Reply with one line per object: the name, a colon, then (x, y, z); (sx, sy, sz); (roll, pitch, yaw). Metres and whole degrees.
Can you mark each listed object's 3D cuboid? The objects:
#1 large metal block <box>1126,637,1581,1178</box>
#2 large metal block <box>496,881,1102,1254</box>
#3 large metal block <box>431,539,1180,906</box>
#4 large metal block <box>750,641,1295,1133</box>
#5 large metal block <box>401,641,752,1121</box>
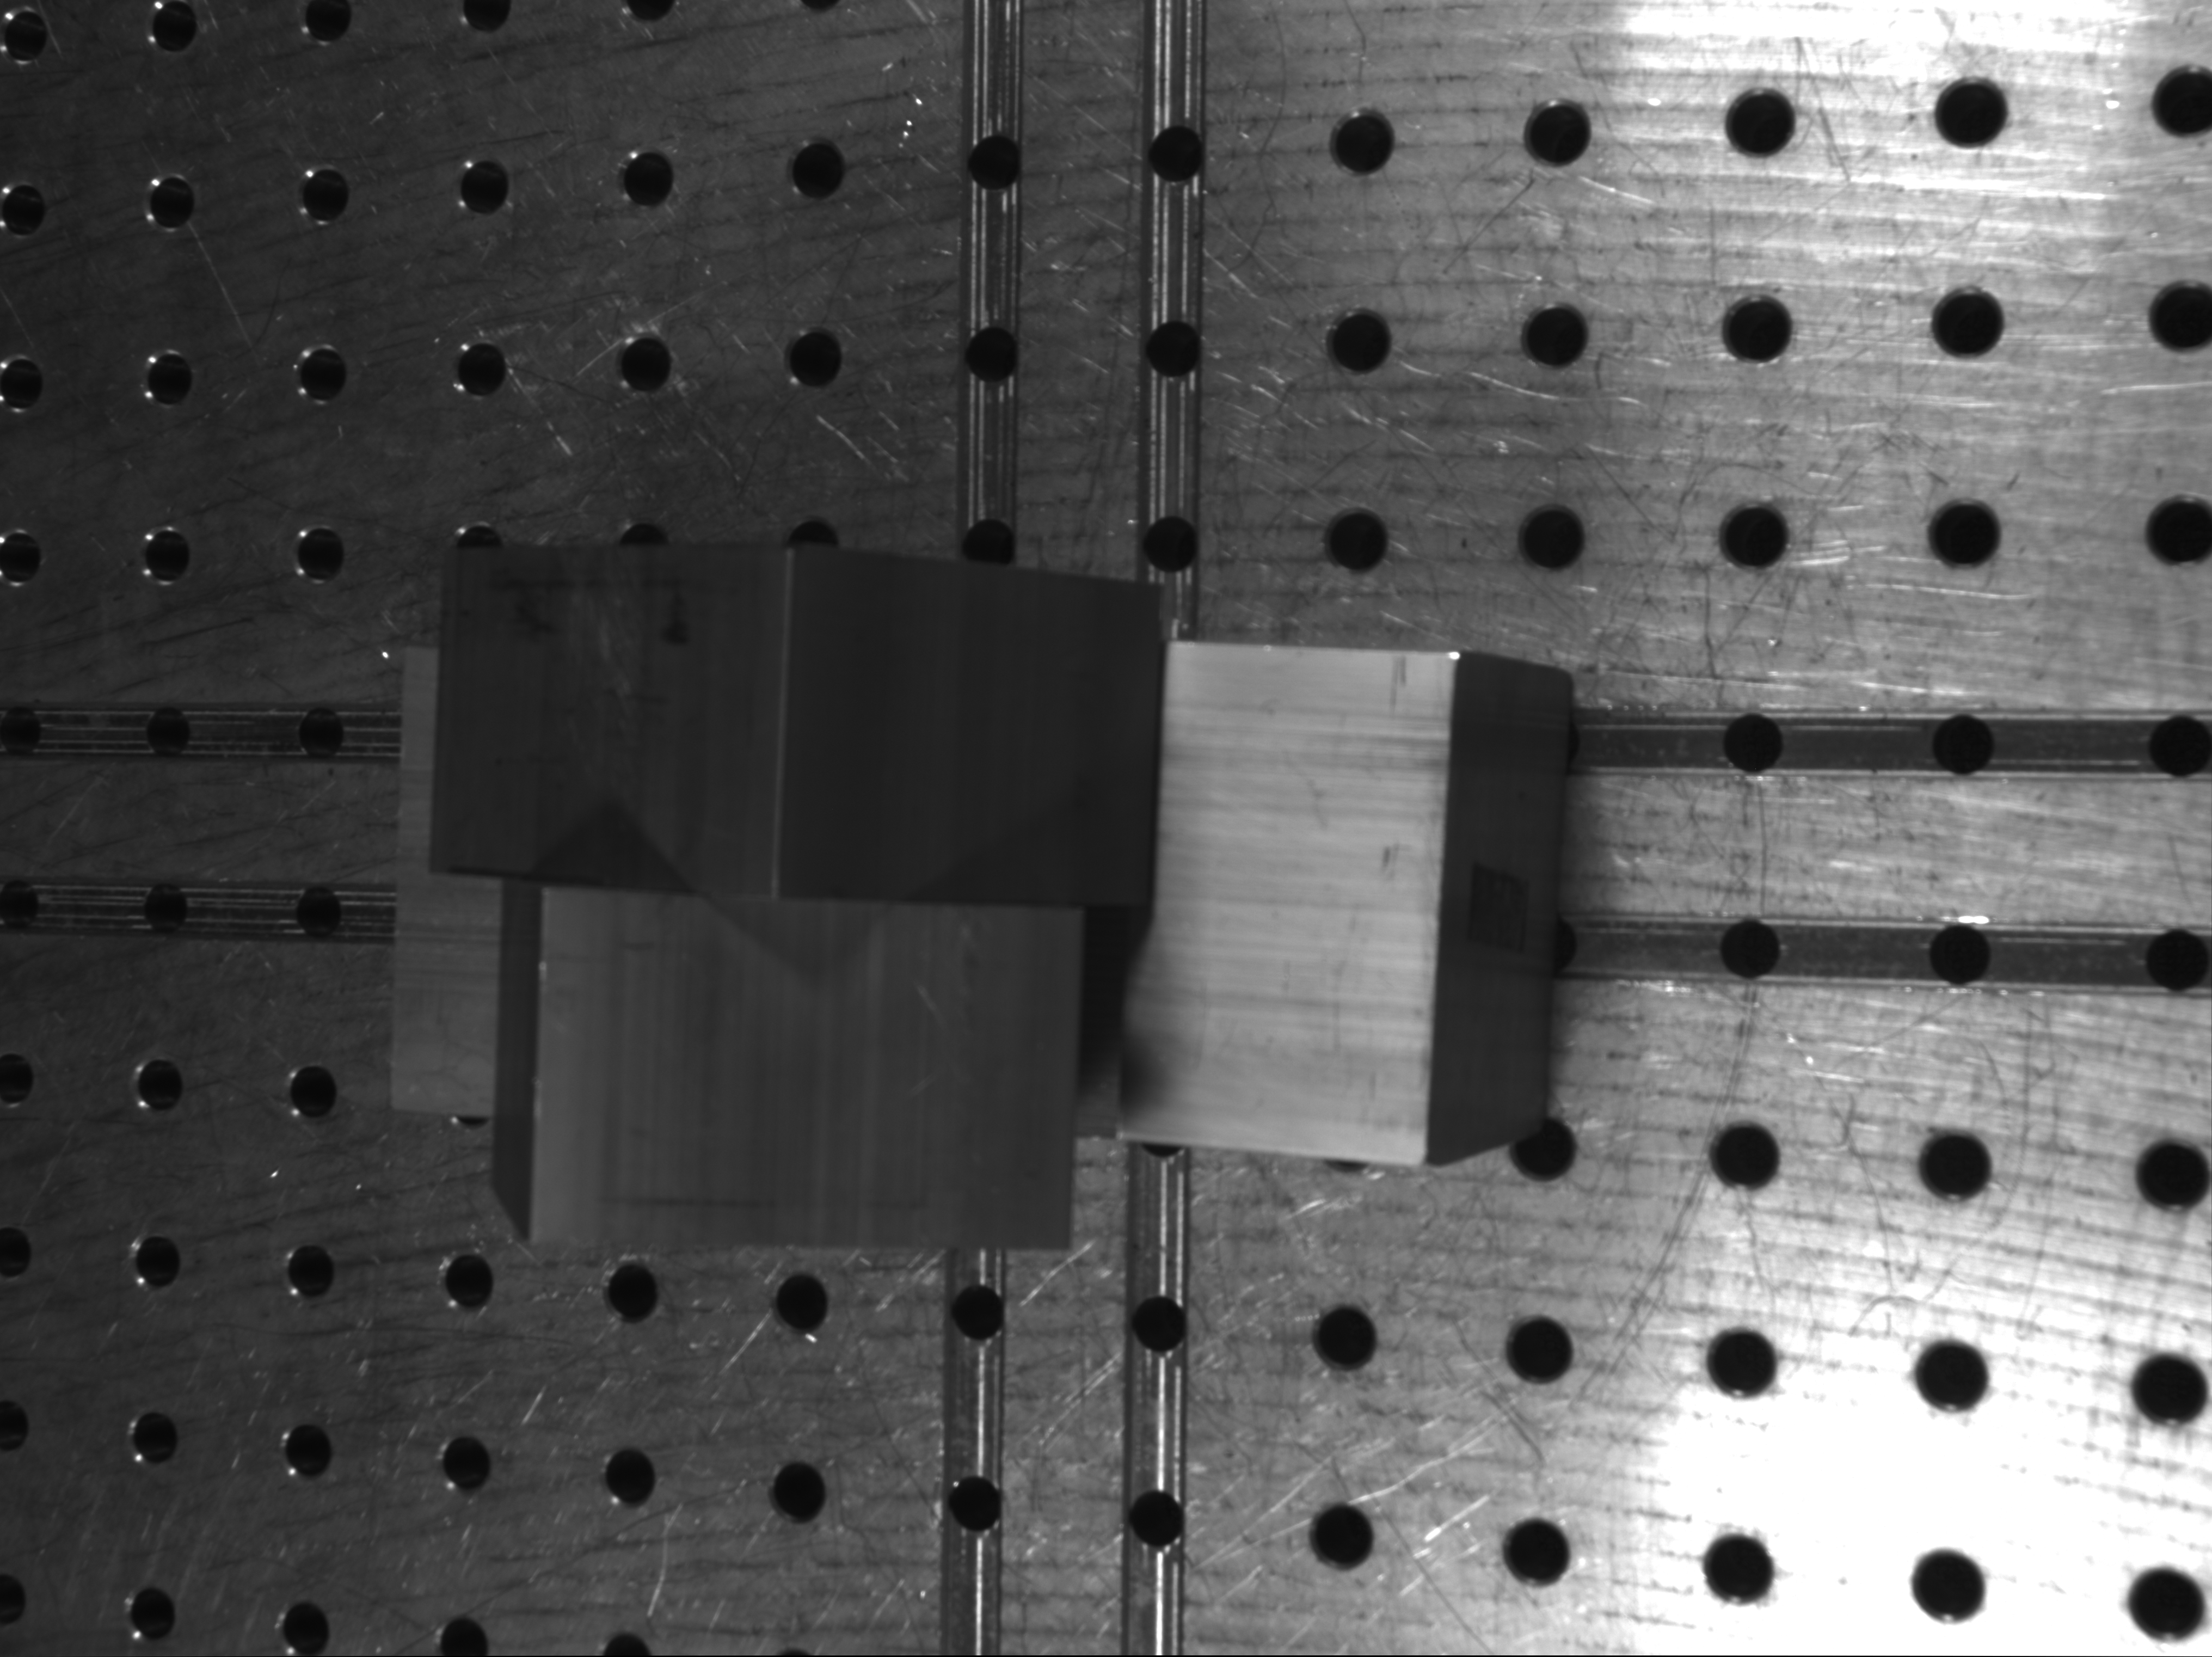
large metal block: (0.043, 0.012, 0.602); (0.050, 0.080, 0.080); (4, 91, 20)
large metal block: (-0.050, 0.035, 0.564); (0.080, 0.080, 0.050); (3, 90, -13)
large metal block: (-0.046, -0.016, 0.566); (0.080, 0.080, 0.050); (3, 90, 42)
large metal block: (-0.014, 0.009, 0.636); (0.080, 0.050, 0.080); (3, 91, 20)
large metal block: (-0.081, 0.009, 0.647); (0.050, 0.080, 0.080); (2, 91, 20)
